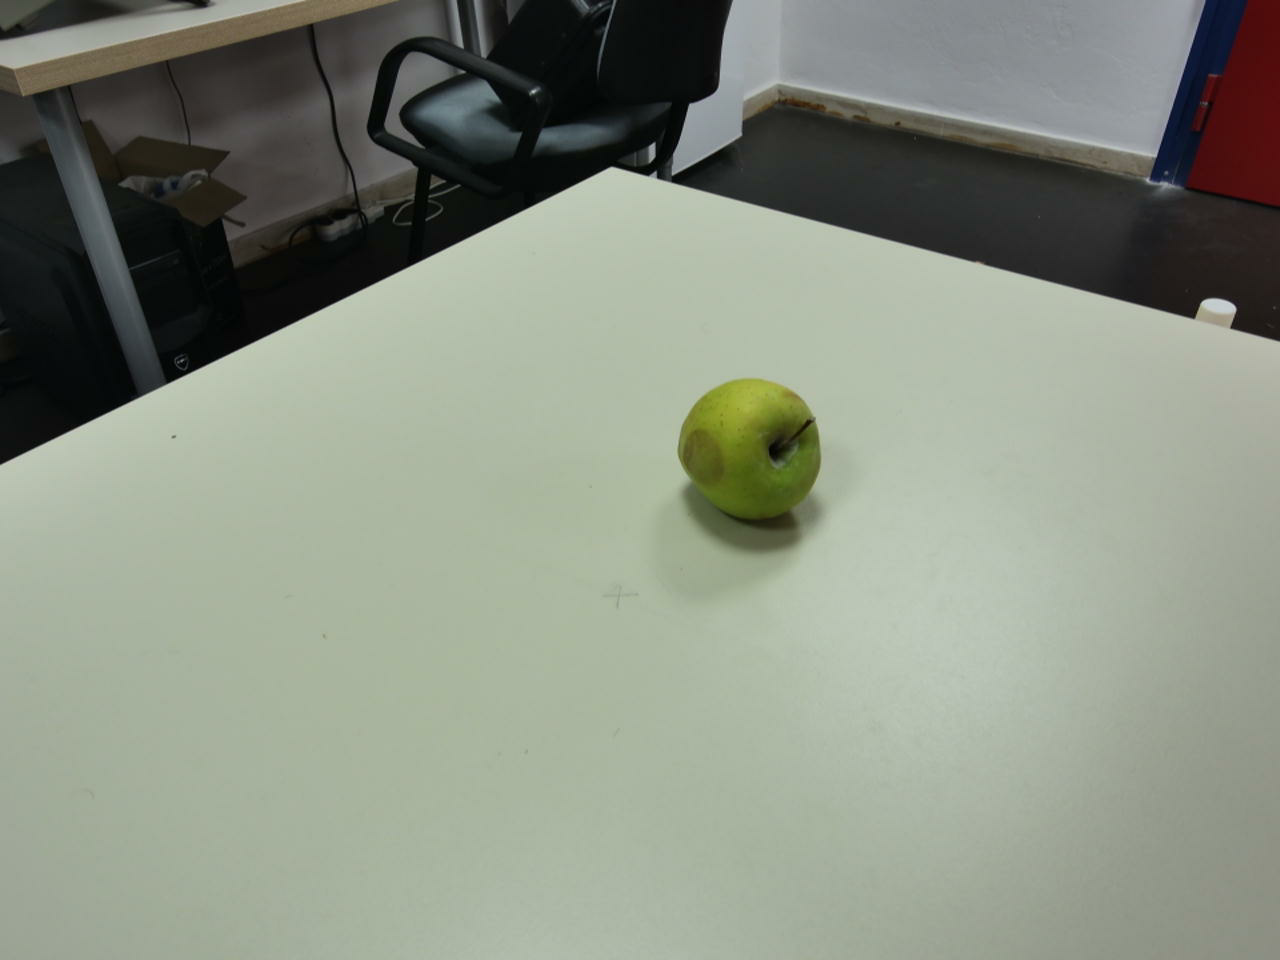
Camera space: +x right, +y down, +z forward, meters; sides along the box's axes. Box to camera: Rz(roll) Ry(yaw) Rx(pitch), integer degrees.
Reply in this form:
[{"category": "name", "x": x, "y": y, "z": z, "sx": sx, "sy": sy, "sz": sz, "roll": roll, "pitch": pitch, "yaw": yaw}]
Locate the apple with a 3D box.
[{"category": "apple", "x": 0.058, "y": -0.018, "z": 0.529, "sx": 0.072, "sy": 0.075, "sz": 0.077, "roll": -5, "pitch": 37, "yaw": -6}]
